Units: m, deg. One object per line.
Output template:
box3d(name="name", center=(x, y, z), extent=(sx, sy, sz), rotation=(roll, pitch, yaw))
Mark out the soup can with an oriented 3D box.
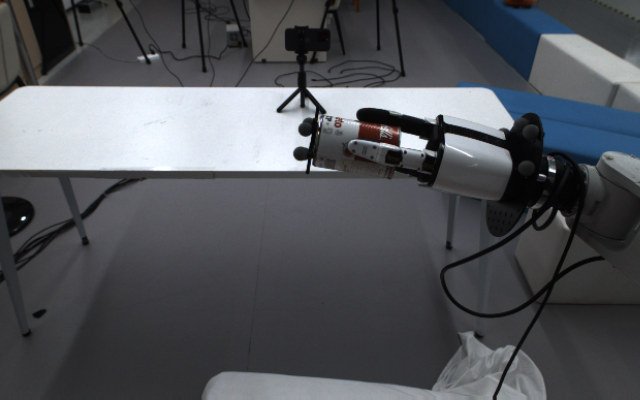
box3d(name="soup can", center=(0.048, -0.068, 0.616), extent=(0.101, 0.067, 0.067), rotation=(9, 35, 0))
